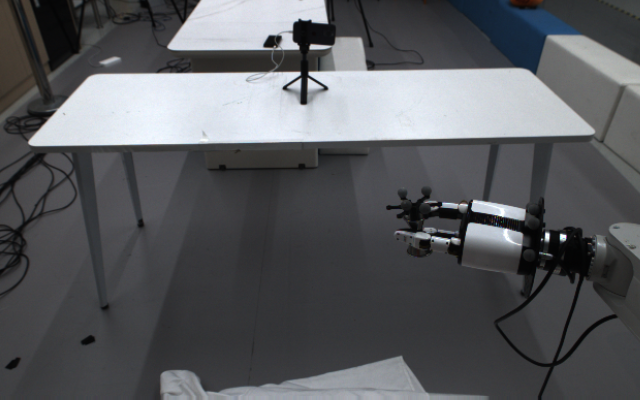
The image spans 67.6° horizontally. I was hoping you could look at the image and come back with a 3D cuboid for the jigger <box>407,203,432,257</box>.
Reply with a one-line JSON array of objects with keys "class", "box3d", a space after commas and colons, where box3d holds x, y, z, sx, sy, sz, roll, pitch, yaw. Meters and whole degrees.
[{"class": "jigger", "box3d": [0.163, 0.053, 0.808, 0.043, 0.071, 0.043, -11, 23, 5]}]
